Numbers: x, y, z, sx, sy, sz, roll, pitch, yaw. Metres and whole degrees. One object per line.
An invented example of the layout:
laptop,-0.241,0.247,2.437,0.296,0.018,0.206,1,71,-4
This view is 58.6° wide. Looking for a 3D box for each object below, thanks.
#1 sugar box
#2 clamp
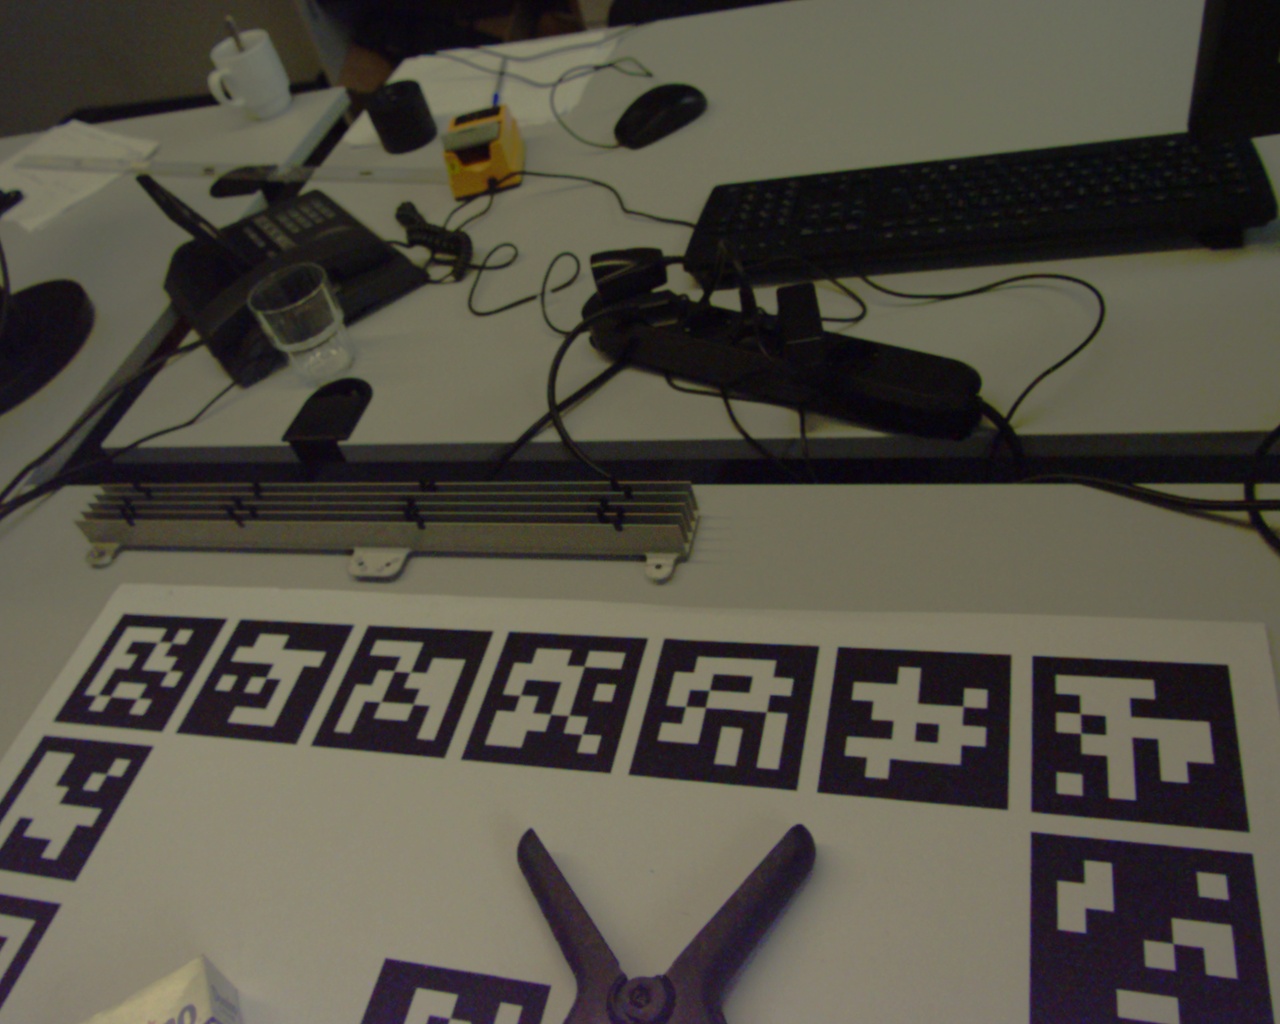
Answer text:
sugar box,-0.254,0.319,0.605,0.092,0.045,0.178,-26,39,-6
clamp,-0.012,0.251,0.611,0.166,0.036,0.203,-7,47,13
